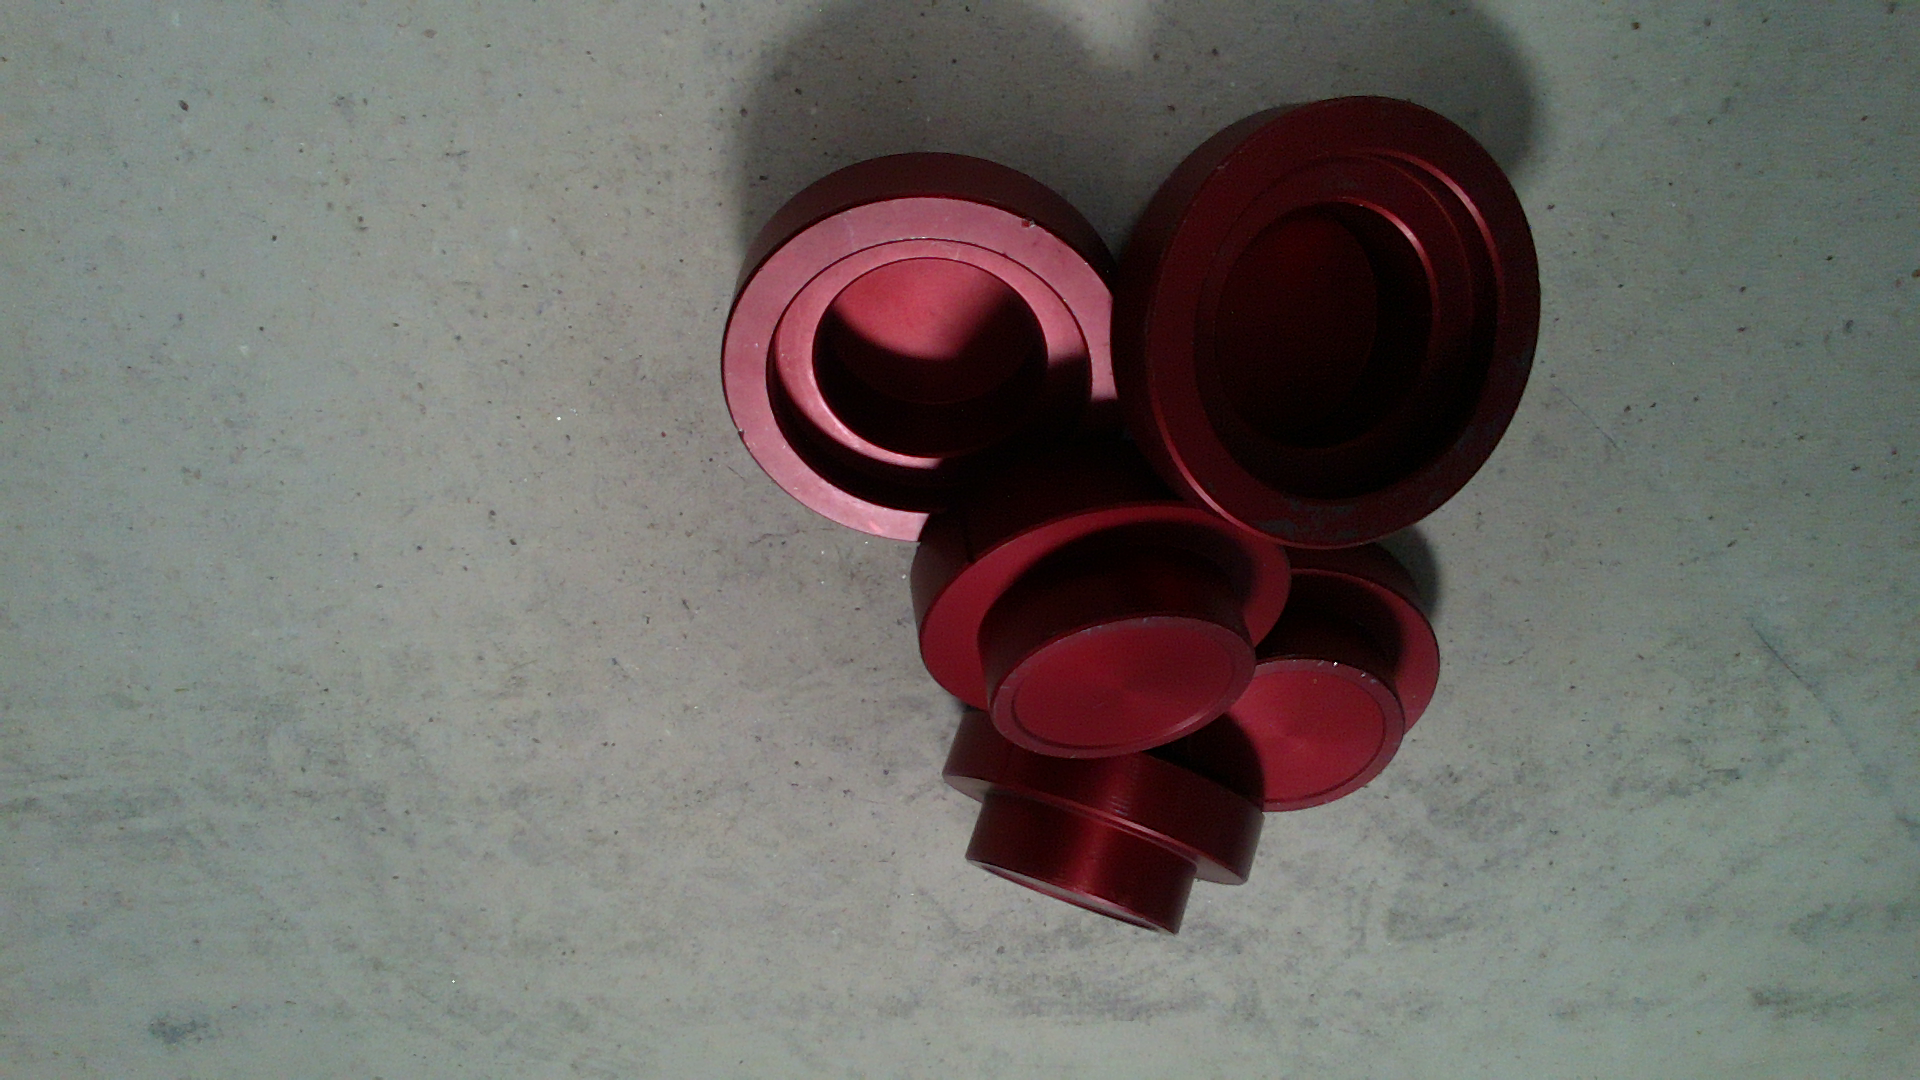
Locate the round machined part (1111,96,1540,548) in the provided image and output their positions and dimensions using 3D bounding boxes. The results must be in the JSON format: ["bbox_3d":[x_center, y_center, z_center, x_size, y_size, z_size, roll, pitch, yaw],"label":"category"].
[{"bbox_3d":[0.080,-0.050,0.319,0.098,0.042,0.098,-4,104,-17],"label":"round machined part"}]

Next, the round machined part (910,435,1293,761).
[{"bbox_3d":[0.038,0.021,0.355,0.098,0.042,0.098,-6,141,-5],"label":"round machined part"}]

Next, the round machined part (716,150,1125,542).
[{"bbox_3d":[-0.008,-0.050,0.337,0.098,0.042,0.098,0,130,0],"label":"round machined part"}]

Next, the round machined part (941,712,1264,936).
[{"bbox_3d":[0.040,0.090,0.422,0.098,0.042,0.098,19,165,6],"label":"round machined part"}]

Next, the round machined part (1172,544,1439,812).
[{"bbox_3d":[0.096,0.045,0.418,0.098,0.042,0.098,0,130,0],"label":"round machined part"}]
